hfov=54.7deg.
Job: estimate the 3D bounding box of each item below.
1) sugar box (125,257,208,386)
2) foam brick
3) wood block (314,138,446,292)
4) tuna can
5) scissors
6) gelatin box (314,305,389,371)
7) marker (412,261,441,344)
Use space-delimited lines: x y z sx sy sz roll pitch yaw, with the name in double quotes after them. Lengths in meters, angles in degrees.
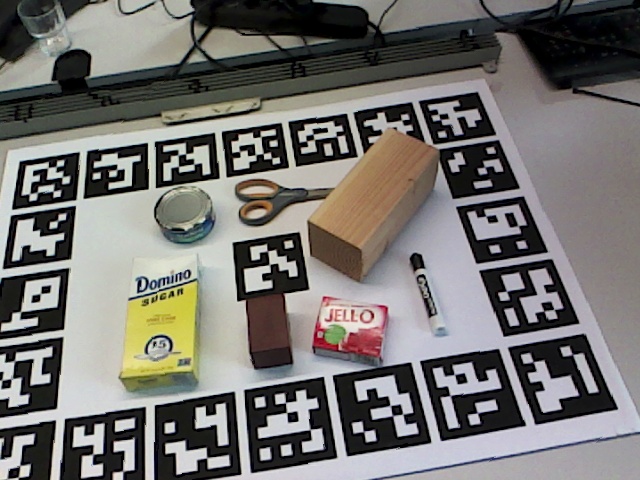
-0.208 0.109 0.855 0.093 0.045 0.177 -4 57 2 "sugar box"
-0.063 0.128 0.820 0.053 0.051 0.078 -6 57 1 "foam brick"
0.091 -0.039 0.902 0.090 0.090 0.206 30 63 23 "wood block"
-0.202 -0.033 0.951 0.086 0.033 0.086 -2 57 3 "tuna can"
-0.031 -0.057 0.966 0.203 0.016 0.088 -3 57 6 "scissors"
0.042 0.130 0.827 0.089 0.030 0.073 8 59 10 "gelatin box"
0.146 0.084 0.853 0.019 0.019 0.121 -7 59 0 "marker"
